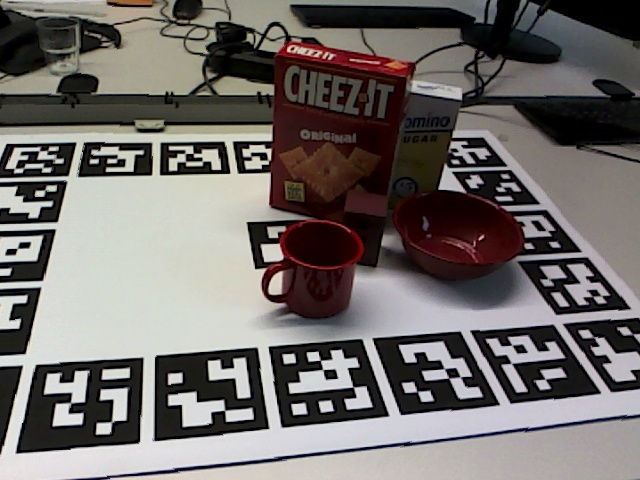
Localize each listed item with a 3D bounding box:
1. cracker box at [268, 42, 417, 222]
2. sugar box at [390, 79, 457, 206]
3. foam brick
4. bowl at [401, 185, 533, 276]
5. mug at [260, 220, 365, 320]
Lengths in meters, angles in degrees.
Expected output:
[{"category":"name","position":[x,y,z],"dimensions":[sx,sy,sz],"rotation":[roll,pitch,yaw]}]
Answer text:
[{"category":"cracker box","position":[0.023,-0.131,0.811],"dimensions":[0.165,0.213,0.072],"rotation":[15,35,12]},{"category":"sugar box","position":[0.127,-0.130,0.854],"dimensions":[0.093,0.176,0.045],"rotation":[10,36,6]},{"category":"foam brick","position":[0.052,-0.014,0.776],"dimensions":[0.053,0.078,0.051],"rotation":[6,35,1]},{"category":"bowl","position":[0.178,-0.005,0.774],"dimensions":[0.161,0.055,0.162],"rotation":[4,37,-3]},{"category":"mug","position":[-0.009,0.036,0.681],"dimensions":[0.117,0.081,0.094],"rotation":[-10,30,-18]}]
